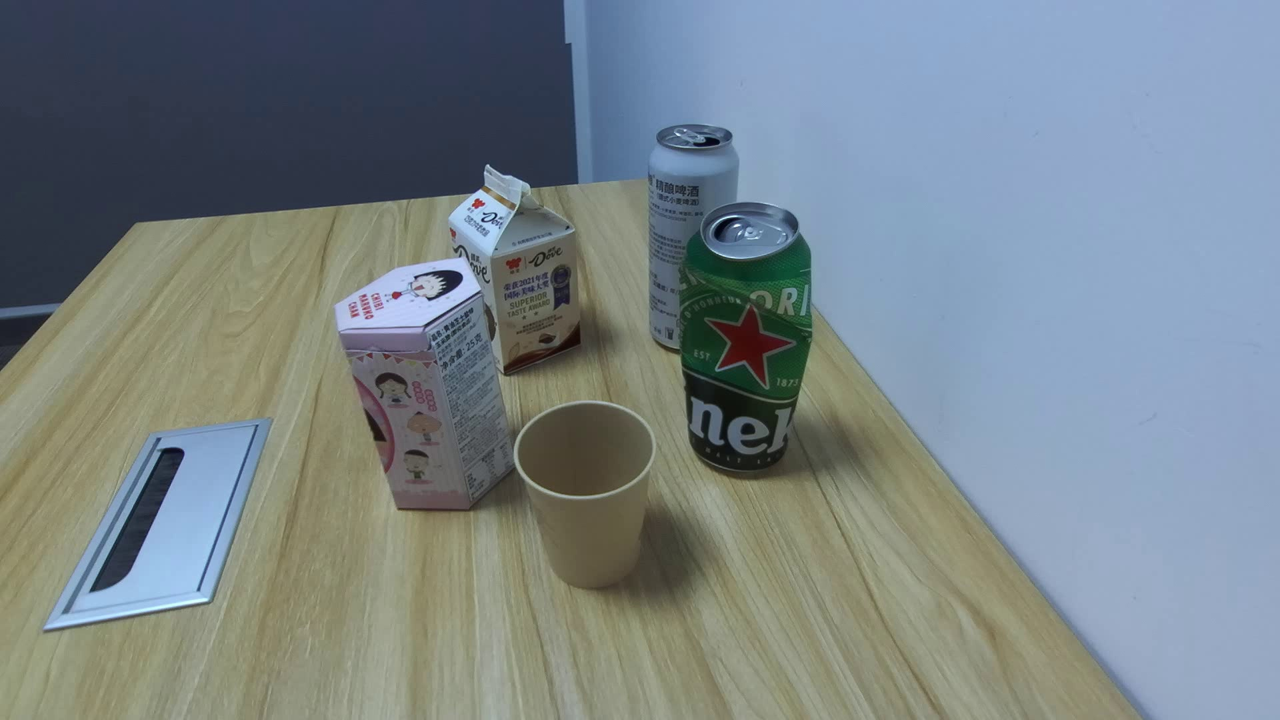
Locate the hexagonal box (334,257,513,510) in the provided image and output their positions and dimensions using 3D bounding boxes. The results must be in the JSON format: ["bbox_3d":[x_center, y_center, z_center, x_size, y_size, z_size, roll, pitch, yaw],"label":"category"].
[{"bbox_3d":[-0.127,0.016,0.433,0.085,0.135,0.091,-17,38,-20],"label":"hexagonal box"}]

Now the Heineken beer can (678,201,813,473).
[{"bbox_3d":[0.063,-0.007,0.431,0.069,0.168,0.068,-10,38,-9],"label":"Heineken beer can"}]

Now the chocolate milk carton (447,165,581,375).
[{"bbox_3d":[-0.096,-0.076,0.549,0.074,0.148,0.075,-23,42,-28],"label":"chocolate milk carton"}]

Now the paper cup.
[{"bbox_3d":[-0.028,0.078,0.391,0.075,0.082,0.075,0,36,0],"label":"paper cup"}]

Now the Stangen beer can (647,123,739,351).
[{"bbox_3d":[0.041,-0.089,0.544,0.067,0.171,0.067,-1,34,1],"label":"Stangen beer can"}]
